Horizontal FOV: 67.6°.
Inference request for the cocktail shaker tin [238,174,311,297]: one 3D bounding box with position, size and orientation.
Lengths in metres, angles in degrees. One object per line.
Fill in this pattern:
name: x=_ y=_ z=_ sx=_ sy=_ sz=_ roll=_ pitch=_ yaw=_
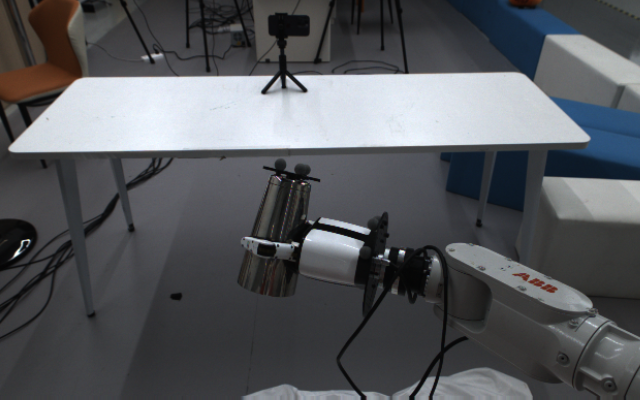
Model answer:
cocktail shaker tin: x=-0.063 y=0.051 z=0.739 sx=0.093 sy=0.170 sz=0.093 roll=13 pitch=5 yaw=-1
